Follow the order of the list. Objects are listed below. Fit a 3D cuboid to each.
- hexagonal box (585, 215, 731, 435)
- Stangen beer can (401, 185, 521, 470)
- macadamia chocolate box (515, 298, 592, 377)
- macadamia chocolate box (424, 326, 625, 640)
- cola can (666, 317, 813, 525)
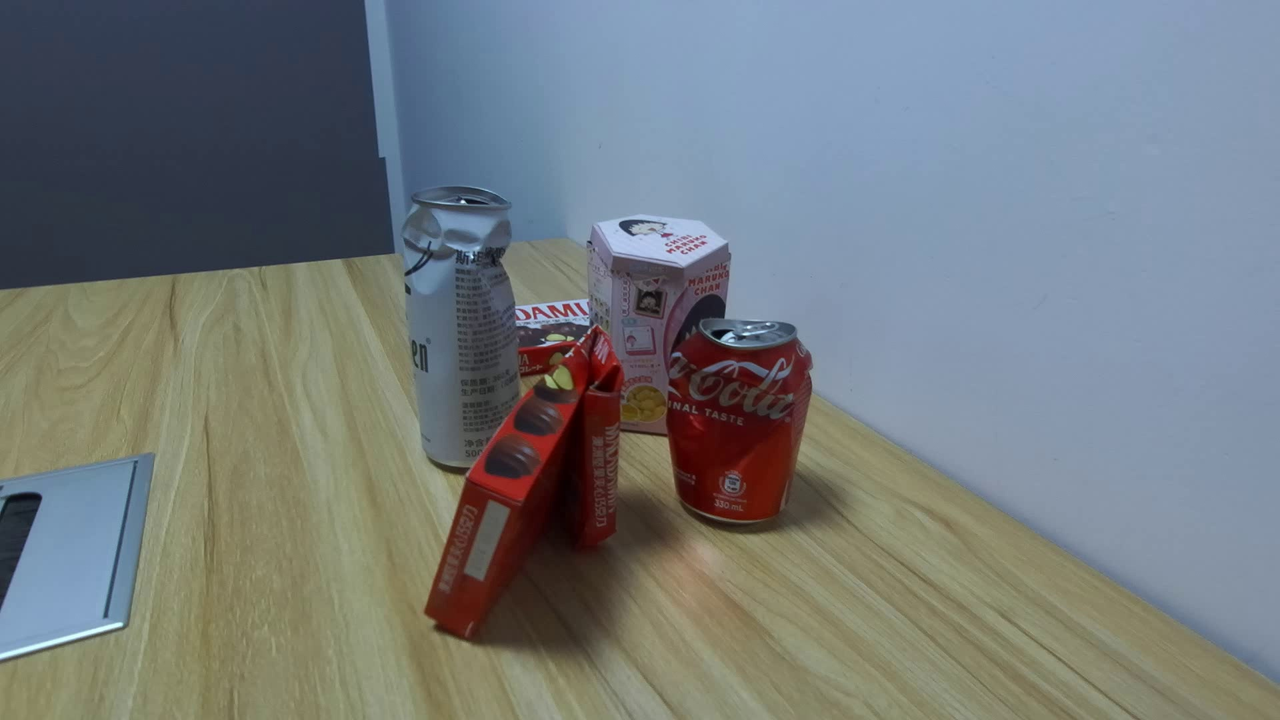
[{"bbox_3d":[0.011,-0.025,0.494,0.084,0.135,0.092,24,32,38],"label":"hexagonal box"},{"bbox_3d":[-0.104,-0.016,0.431,0.065,0.166,0.066,16,27,28],"label":"Stangen beer can"},{"bbox_3d":[-0.091,-0.018,0.607,0.187,0.027,0.102,-10,29,-26],"label":"macadamia chocolate box"},{"bbox_3d":[-0.049,0.056,0.339,0.056,0.112,0.127,14,26,20],"label":"macadamia chocolate box"},{"bbox_3d":[0.057,0.033,0.394,0.069,0.112,0.066,22,31,37],"label":"cola can"}]
